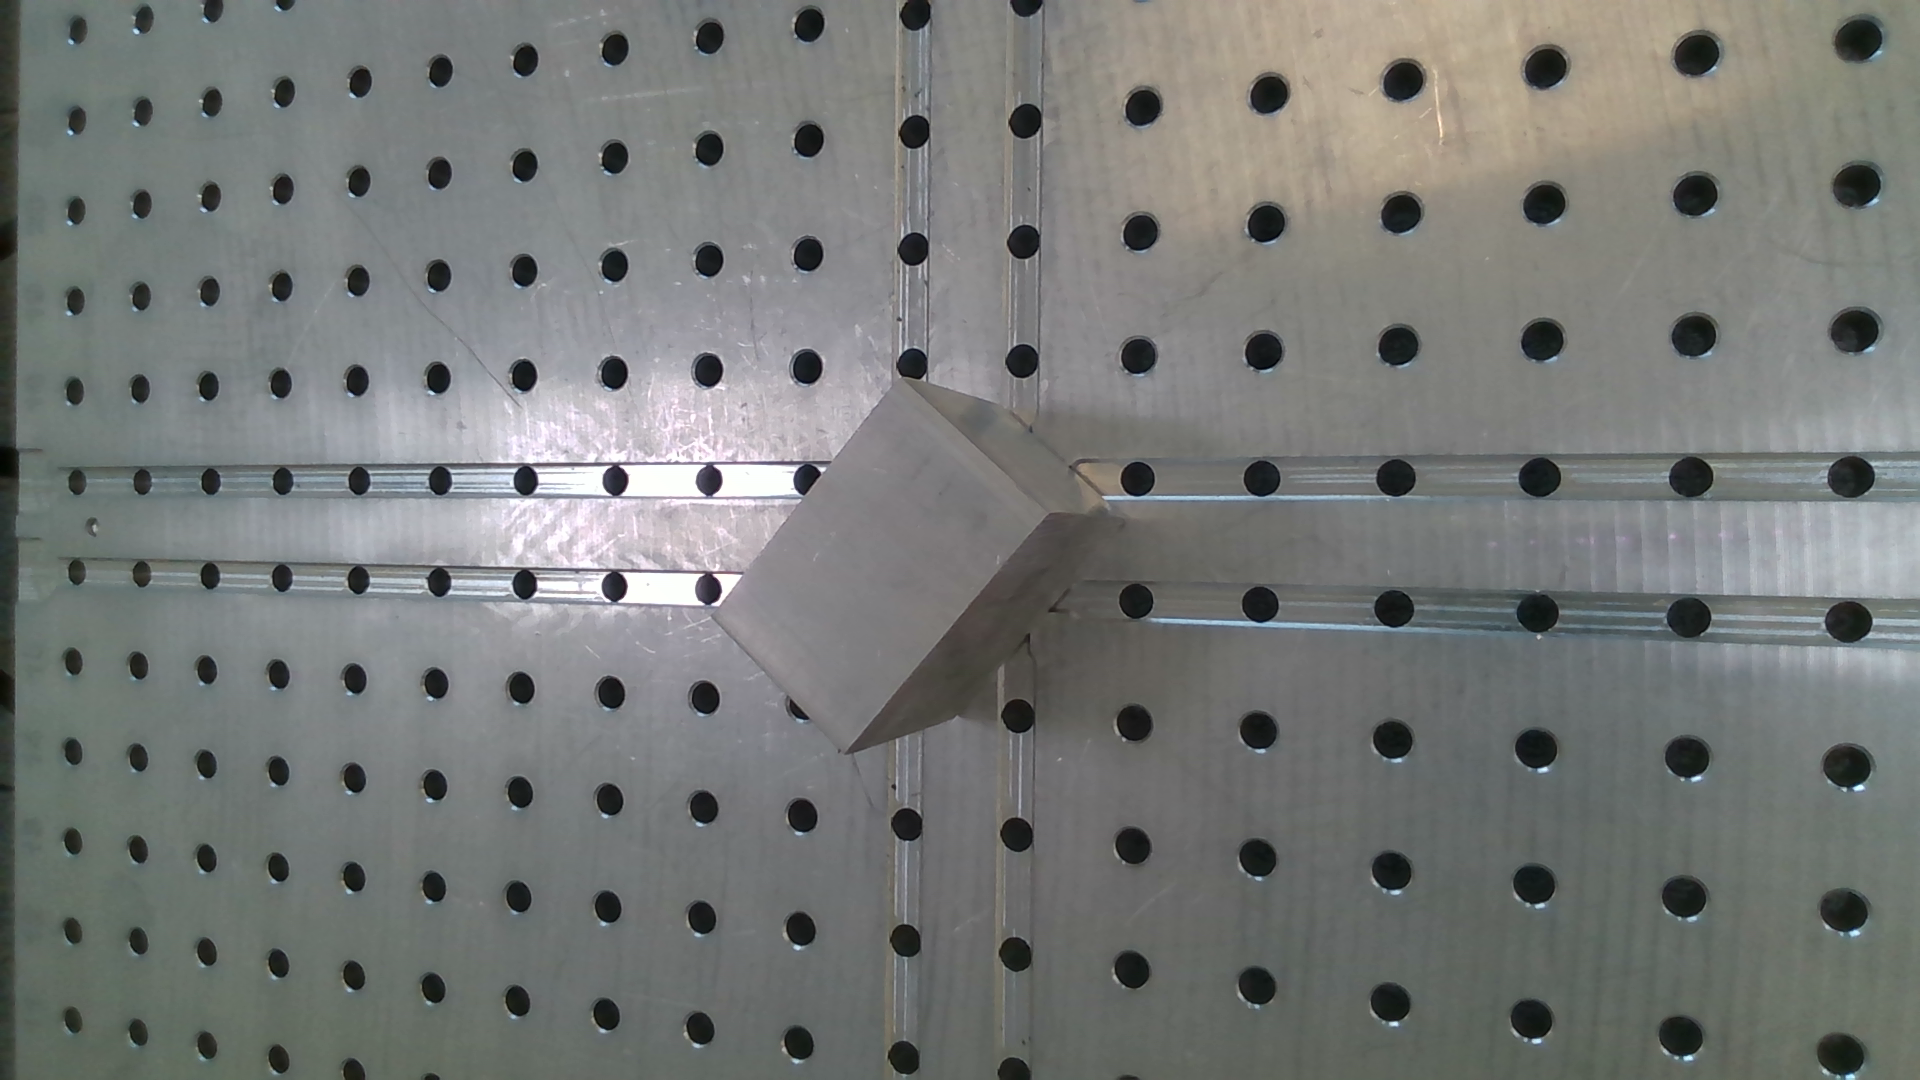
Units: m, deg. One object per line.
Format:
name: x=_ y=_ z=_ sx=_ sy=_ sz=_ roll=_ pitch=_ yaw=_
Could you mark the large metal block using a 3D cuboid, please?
large metal block: x=-0.008 y=0.006 z=0.370 sx=0.050 sy=0.080 sz=0.080 roll=43 pitch=104 yaw=15
